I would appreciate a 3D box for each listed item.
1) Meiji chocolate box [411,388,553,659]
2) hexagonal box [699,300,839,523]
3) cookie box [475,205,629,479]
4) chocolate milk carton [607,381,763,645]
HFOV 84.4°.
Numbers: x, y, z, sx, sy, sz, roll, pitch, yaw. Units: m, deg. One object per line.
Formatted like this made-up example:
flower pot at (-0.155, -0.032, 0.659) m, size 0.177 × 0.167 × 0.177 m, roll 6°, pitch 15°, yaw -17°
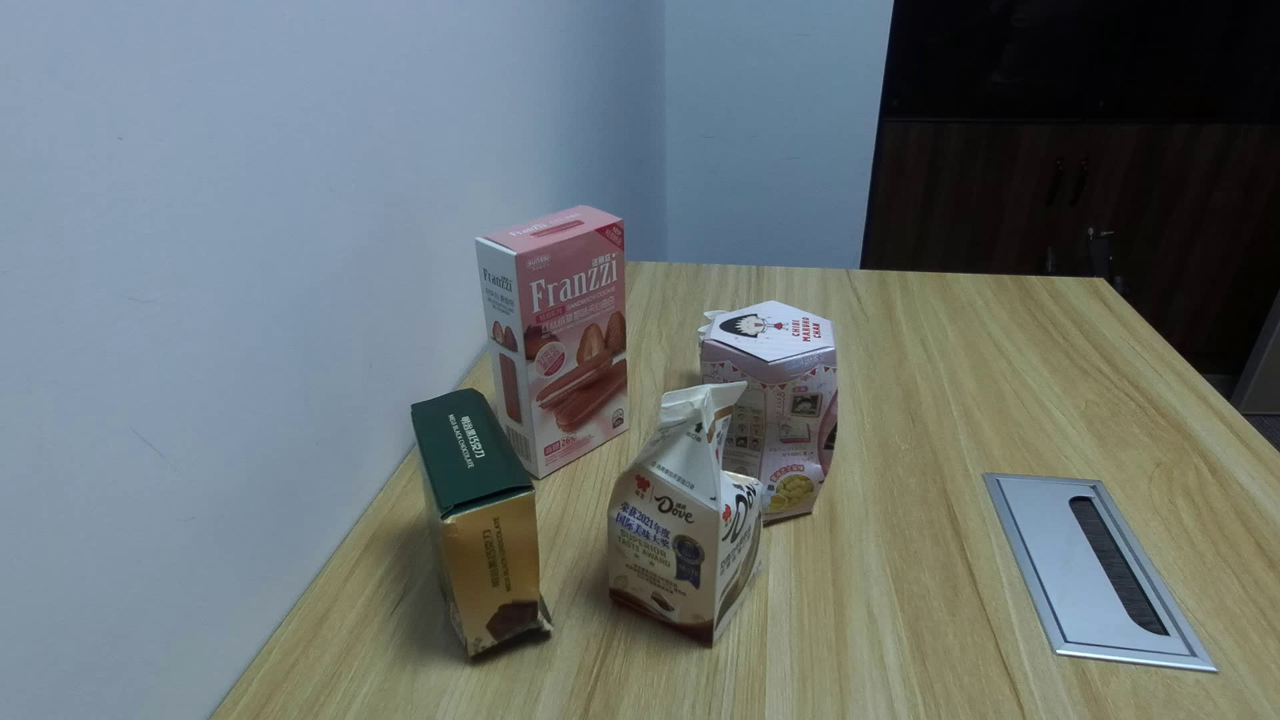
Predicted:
Meiji chocolate box at (-0.098, 0.094, 0.420) m, size 0.059 × 0.116 × 0.122 m, roll -13°, pitch 30°, yaw -20°
hexagonal box at (0.086, 0.039, 0.481) m, size 0.093 × 0.135 × 0.088 m, roll -14°, pitch 32°, yaw -22°
cookie box at (-0.058, -0.011, 0.532) m, size 0.096 × 0.185 × 0.048 m, roll -27°, pitch 40°, yaw -36°
chocolate milk carton at (0.029, 0.074, 0.402) m, size 0.073 × 0.156 × 0.076 m, roll 17°, pitch 34°, yaw 27°
